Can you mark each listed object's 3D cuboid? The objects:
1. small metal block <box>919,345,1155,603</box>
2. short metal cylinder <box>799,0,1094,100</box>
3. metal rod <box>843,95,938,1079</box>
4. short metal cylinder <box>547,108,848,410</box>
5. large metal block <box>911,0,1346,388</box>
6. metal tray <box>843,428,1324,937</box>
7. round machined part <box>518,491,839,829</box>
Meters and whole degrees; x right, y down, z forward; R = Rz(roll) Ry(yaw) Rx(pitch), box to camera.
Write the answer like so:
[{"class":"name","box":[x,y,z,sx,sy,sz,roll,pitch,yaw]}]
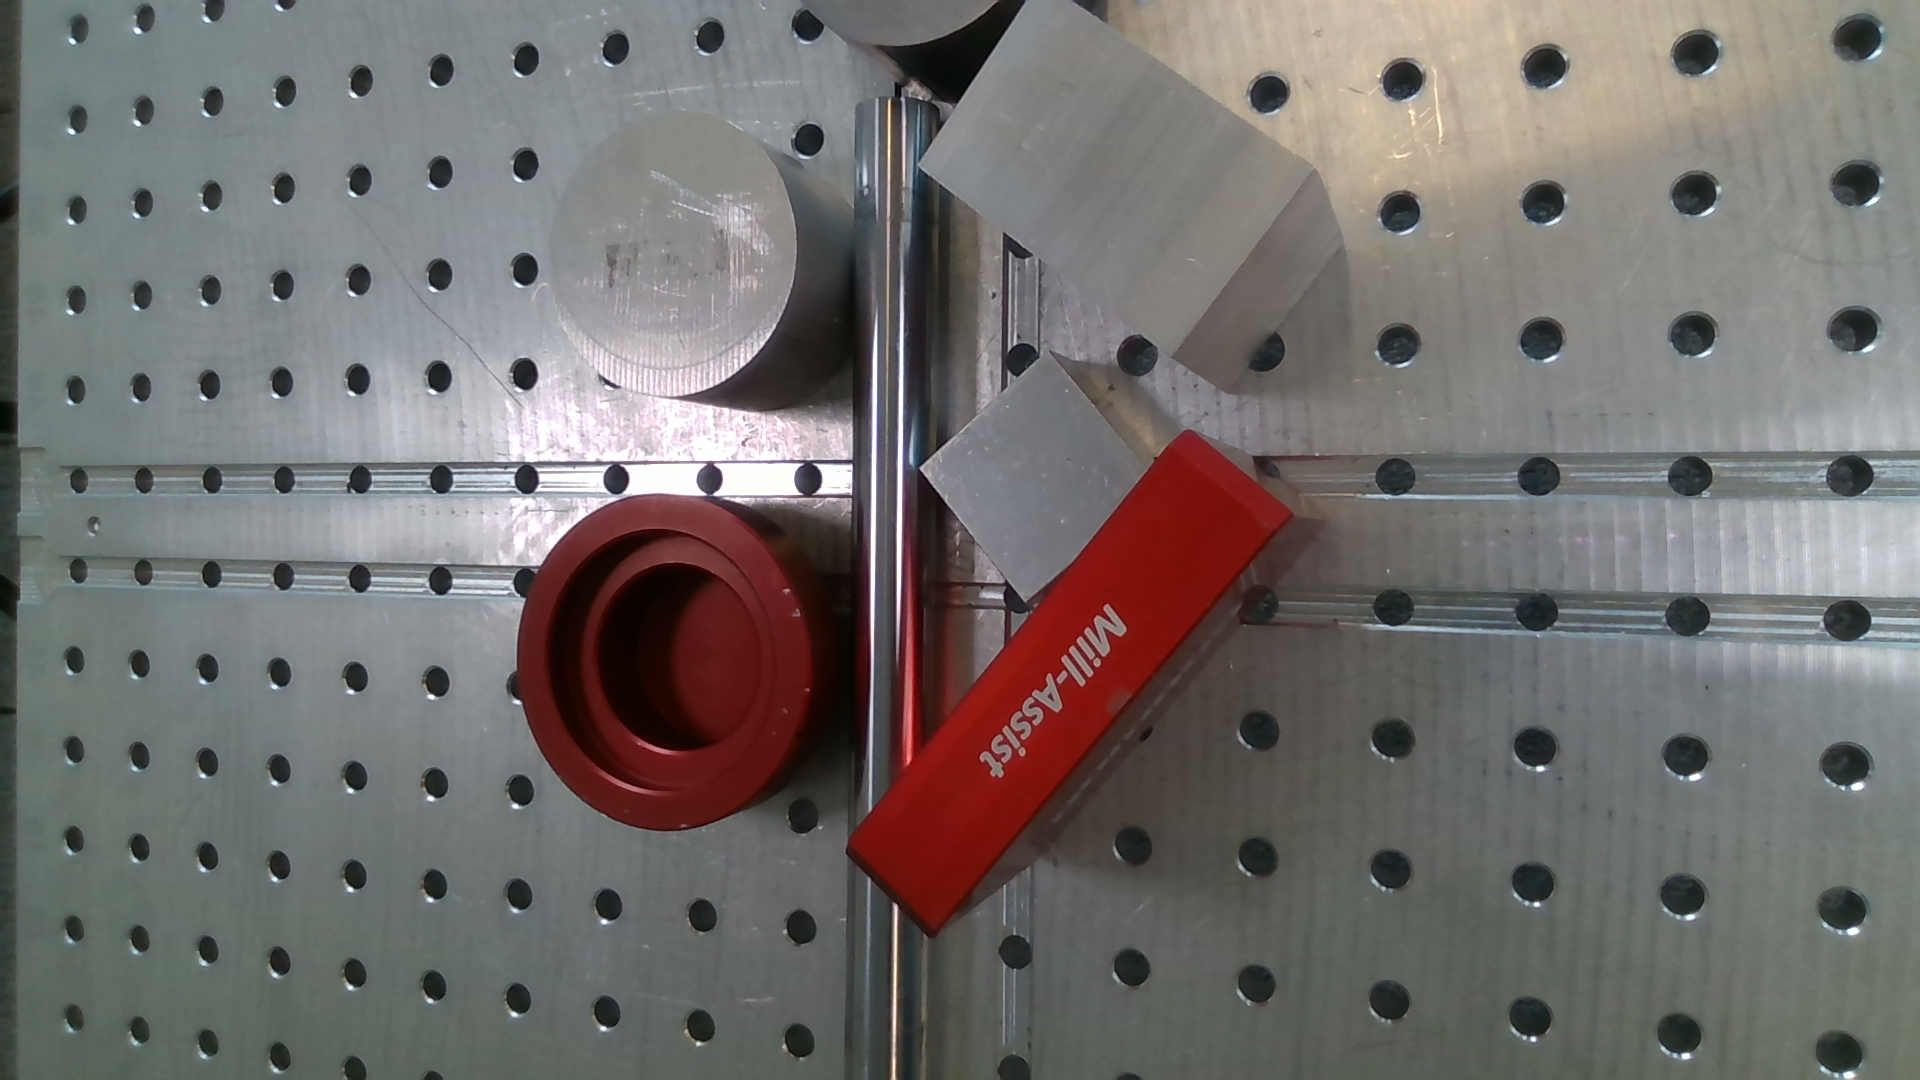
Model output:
[{"class":"small metal block","box":[0.026,-0.018,0.387,0.050,0.025,0.050,-41,77,16]},{"class":"short metal cylinder","box":[-0.005,-0.170,0.383,0.080,0.050,0.080,0,90,20]},{"class":"metal rod","box":[-0.021,0.024,0.404,0.025,0.025,0.300,1,91,20]},{"class":"short metal cylinder","box":[-0.074,-0.081,0.409,0.080,0.050,0.080,0,90,20]},{"class":"large metal block","box":[0.046,-0.086,0.350,0.080,0.080,0.050,40,104,15]},{"class":"metal tray","box":[0.035,0.034,0.349,0.030,0.090,0.130,42,103,15]},{"class":"round machined part","box":[-0.081,0.035,0.417,0.098,0.042,0.098,0,90,20]}]
